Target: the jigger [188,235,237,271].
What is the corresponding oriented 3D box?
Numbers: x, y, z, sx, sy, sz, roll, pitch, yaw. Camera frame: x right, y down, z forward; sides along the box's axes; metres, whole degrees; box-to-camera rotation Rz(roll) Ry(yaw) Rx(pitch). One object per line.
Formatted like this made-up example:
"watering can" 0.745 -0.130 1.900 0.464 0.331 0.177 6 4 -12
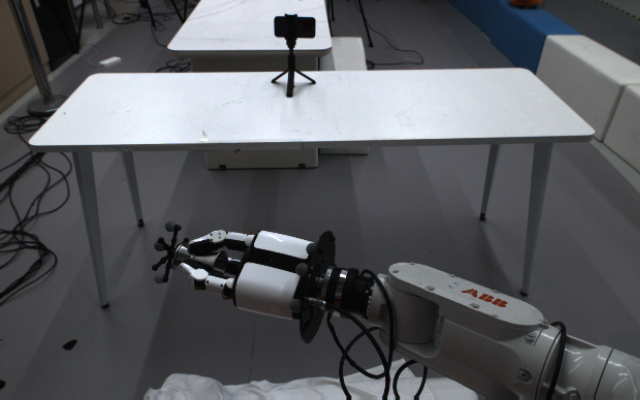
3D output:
"jigger" -0.172 0.089 0.724 0.071 0.043 0.043 11 36 15
